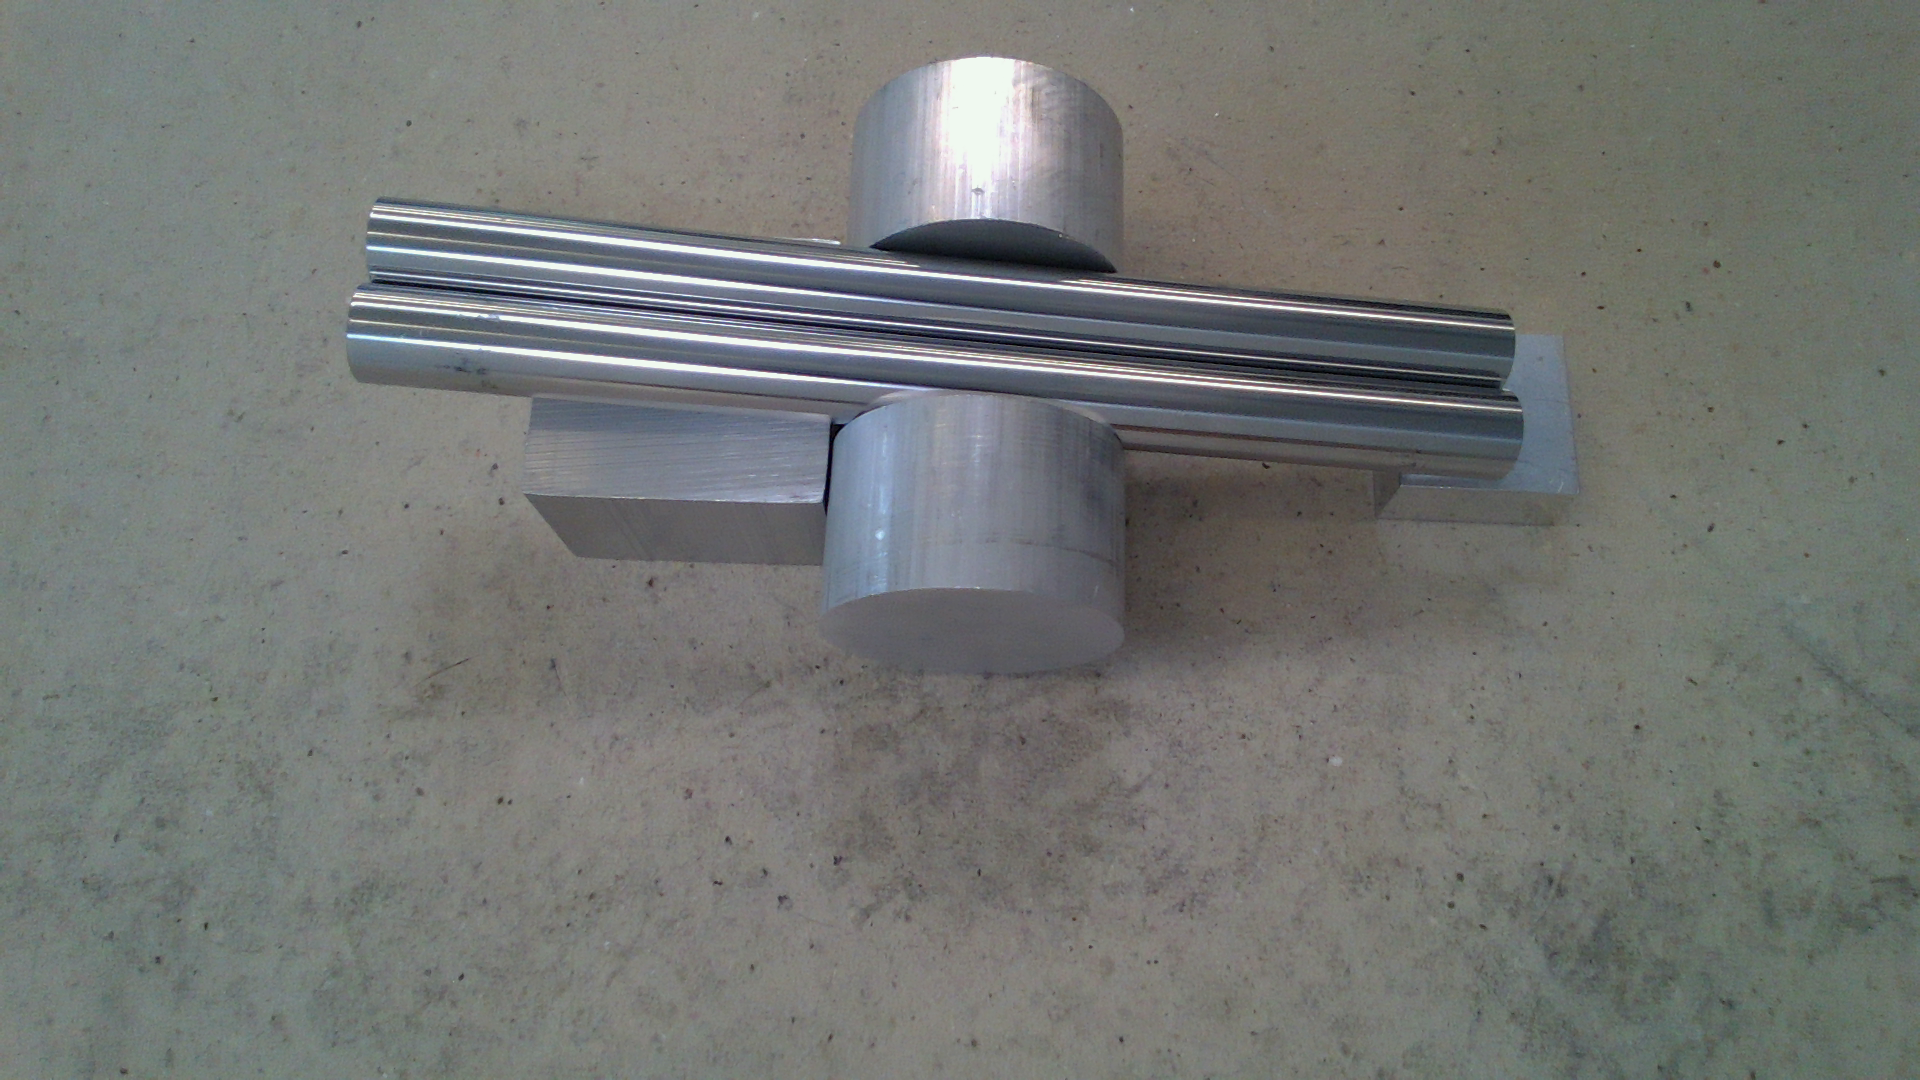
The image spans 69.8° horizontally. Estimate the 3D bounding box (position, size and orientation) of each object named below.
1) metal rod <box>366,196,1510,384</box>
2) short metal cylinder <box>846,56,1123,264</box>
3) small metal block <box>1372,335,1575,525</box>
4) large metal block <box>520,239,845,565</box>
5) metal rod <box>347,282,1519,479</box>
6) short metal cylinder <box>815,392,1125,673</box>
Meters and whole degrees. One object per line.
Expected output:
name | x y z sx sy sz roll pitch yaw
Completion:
metal rod | 0.000 -0.064 0.371 0.300 0.025 0.025 4 70 -7
short metal cylinder | 0.007 -0.093 0.400 0.080 0.080 0.050 1 70 1
small metal block | 0.150 -0.033 0.408 0.050 0.025 0.050 3 70 1
large metal block | -0.074 -0.040 0.396 0.080 0.050 0.080 2 70 1
metal rod | -0.001 -0.041 0.362 0.300 0.025 0.025 4 70 -7
short metal cylinder | 0.003 0.001 0.365 0.080 0.080 0.050 1 70 1
